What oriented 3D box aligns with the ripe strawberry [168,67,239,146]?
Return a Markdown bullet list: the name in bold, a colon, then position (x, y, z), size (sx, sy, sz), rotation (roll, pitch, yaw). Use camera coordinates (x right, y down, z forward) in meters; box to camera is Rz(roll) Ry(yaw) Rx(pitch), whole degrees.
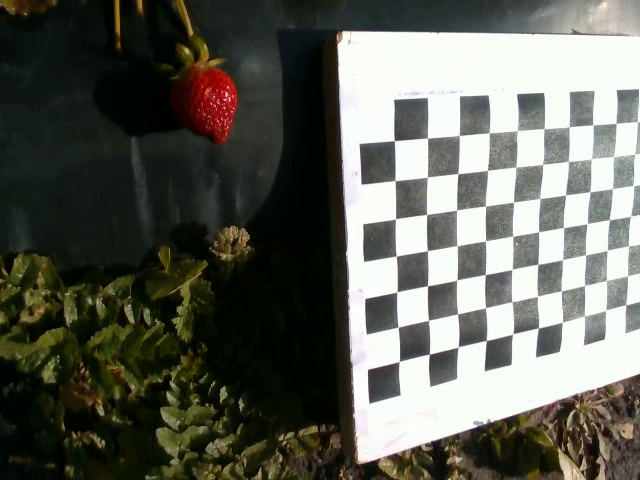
- **ripe strawberry**: position (-0.056, -0.065, 0.290), size (0.040, 0.044, 0.036), rotation (-28, 7, -18)
